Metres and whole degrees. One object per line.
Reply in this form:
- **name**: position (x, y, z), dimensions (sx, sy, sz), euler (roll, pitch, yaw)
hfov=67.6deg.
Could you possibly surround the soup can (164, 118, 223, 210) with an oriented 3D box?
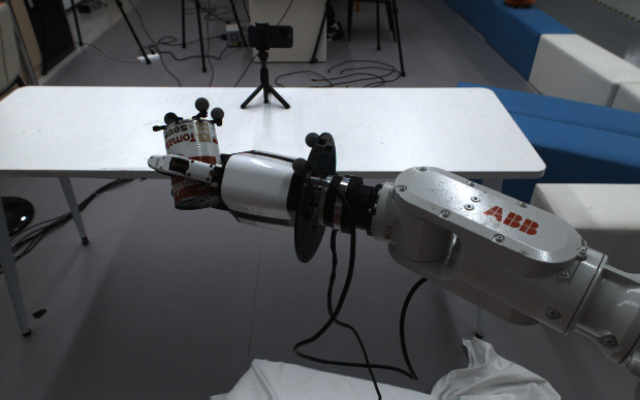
- **soup can**: position (-0.158, -0.043, 0.621), dimensions (0.067, 0.067, 0.101), euler (-10, 79, -17)
